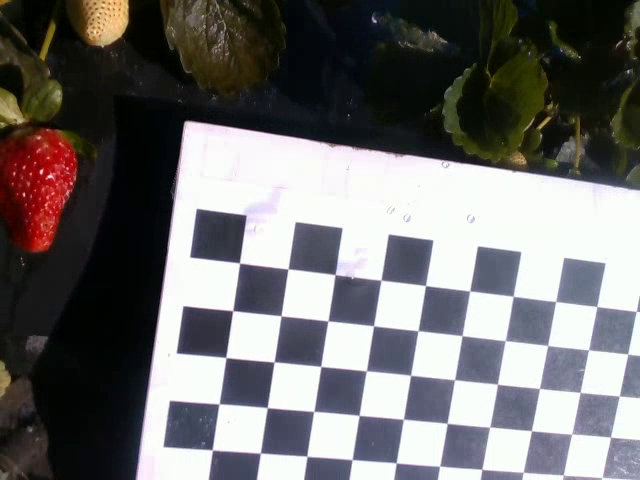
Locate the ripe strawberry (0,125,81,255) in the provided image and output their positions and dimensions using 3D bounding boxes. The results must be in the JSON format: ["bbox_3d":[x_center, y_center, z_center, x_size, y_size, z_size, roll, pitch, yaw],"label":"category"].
[{"bbox_3d":[-0.133,-0.022,0.264,0.048,0.069,0.040,-11,-3,-7],"label":"ripe strawberry"}]
